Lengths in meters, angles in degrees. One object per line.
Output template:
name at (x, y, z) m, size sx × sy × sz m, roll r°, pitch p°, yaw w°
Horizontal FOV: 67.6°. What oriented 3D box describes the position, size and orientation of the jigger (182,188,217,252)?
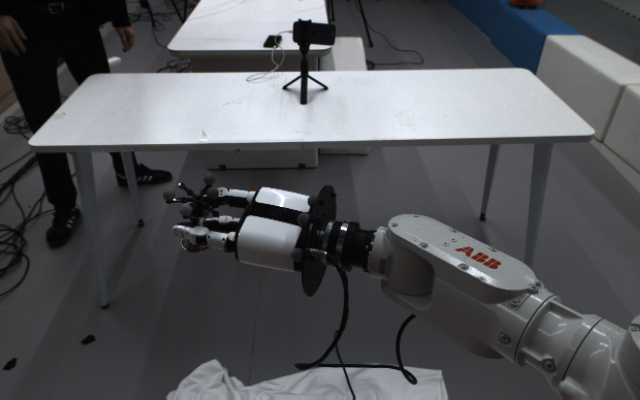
jigger at (-0.184, 0.040, 0.723) m, size 0.043 × 0.071 × 0.043 m, roll 9°, pitch 36°, yaw -7°
